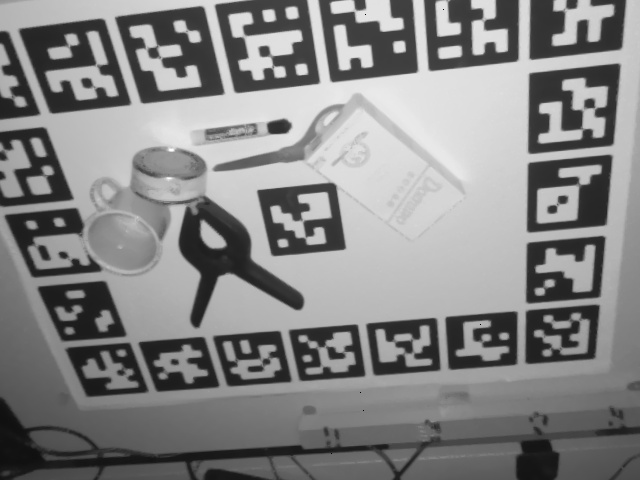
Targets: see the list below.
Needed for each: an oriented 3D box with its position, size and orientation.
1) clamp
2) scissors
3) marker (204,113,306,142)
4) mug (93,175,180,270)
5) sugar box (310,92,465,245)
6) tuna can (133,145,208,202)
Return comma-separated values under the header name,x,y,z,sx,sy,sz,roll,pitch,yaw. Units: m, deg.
name,x,y,z,sx,sy,sz,roll,pitch,yaw
clamp,-0.124,0.025,0.915,0.164,0.037,0.202,-14,116,11
scissors,-0.026,-0.100,0.835,0.201,0.016,0.087,-13,121,12
marker,-0.077,-0.133,0.822,0.121,0.020,0.019,-8,118,7
mug,-0.228,-0.032,0.854,0.092,0.082,0.117,-29,117,19
sugar box,0.081,-0.080,0.821,0.092,0.045,0.177,-39,116,22
tuna can,-0.176,-0.080,0.819,0.086,0.086,0.033,11,120,-2
